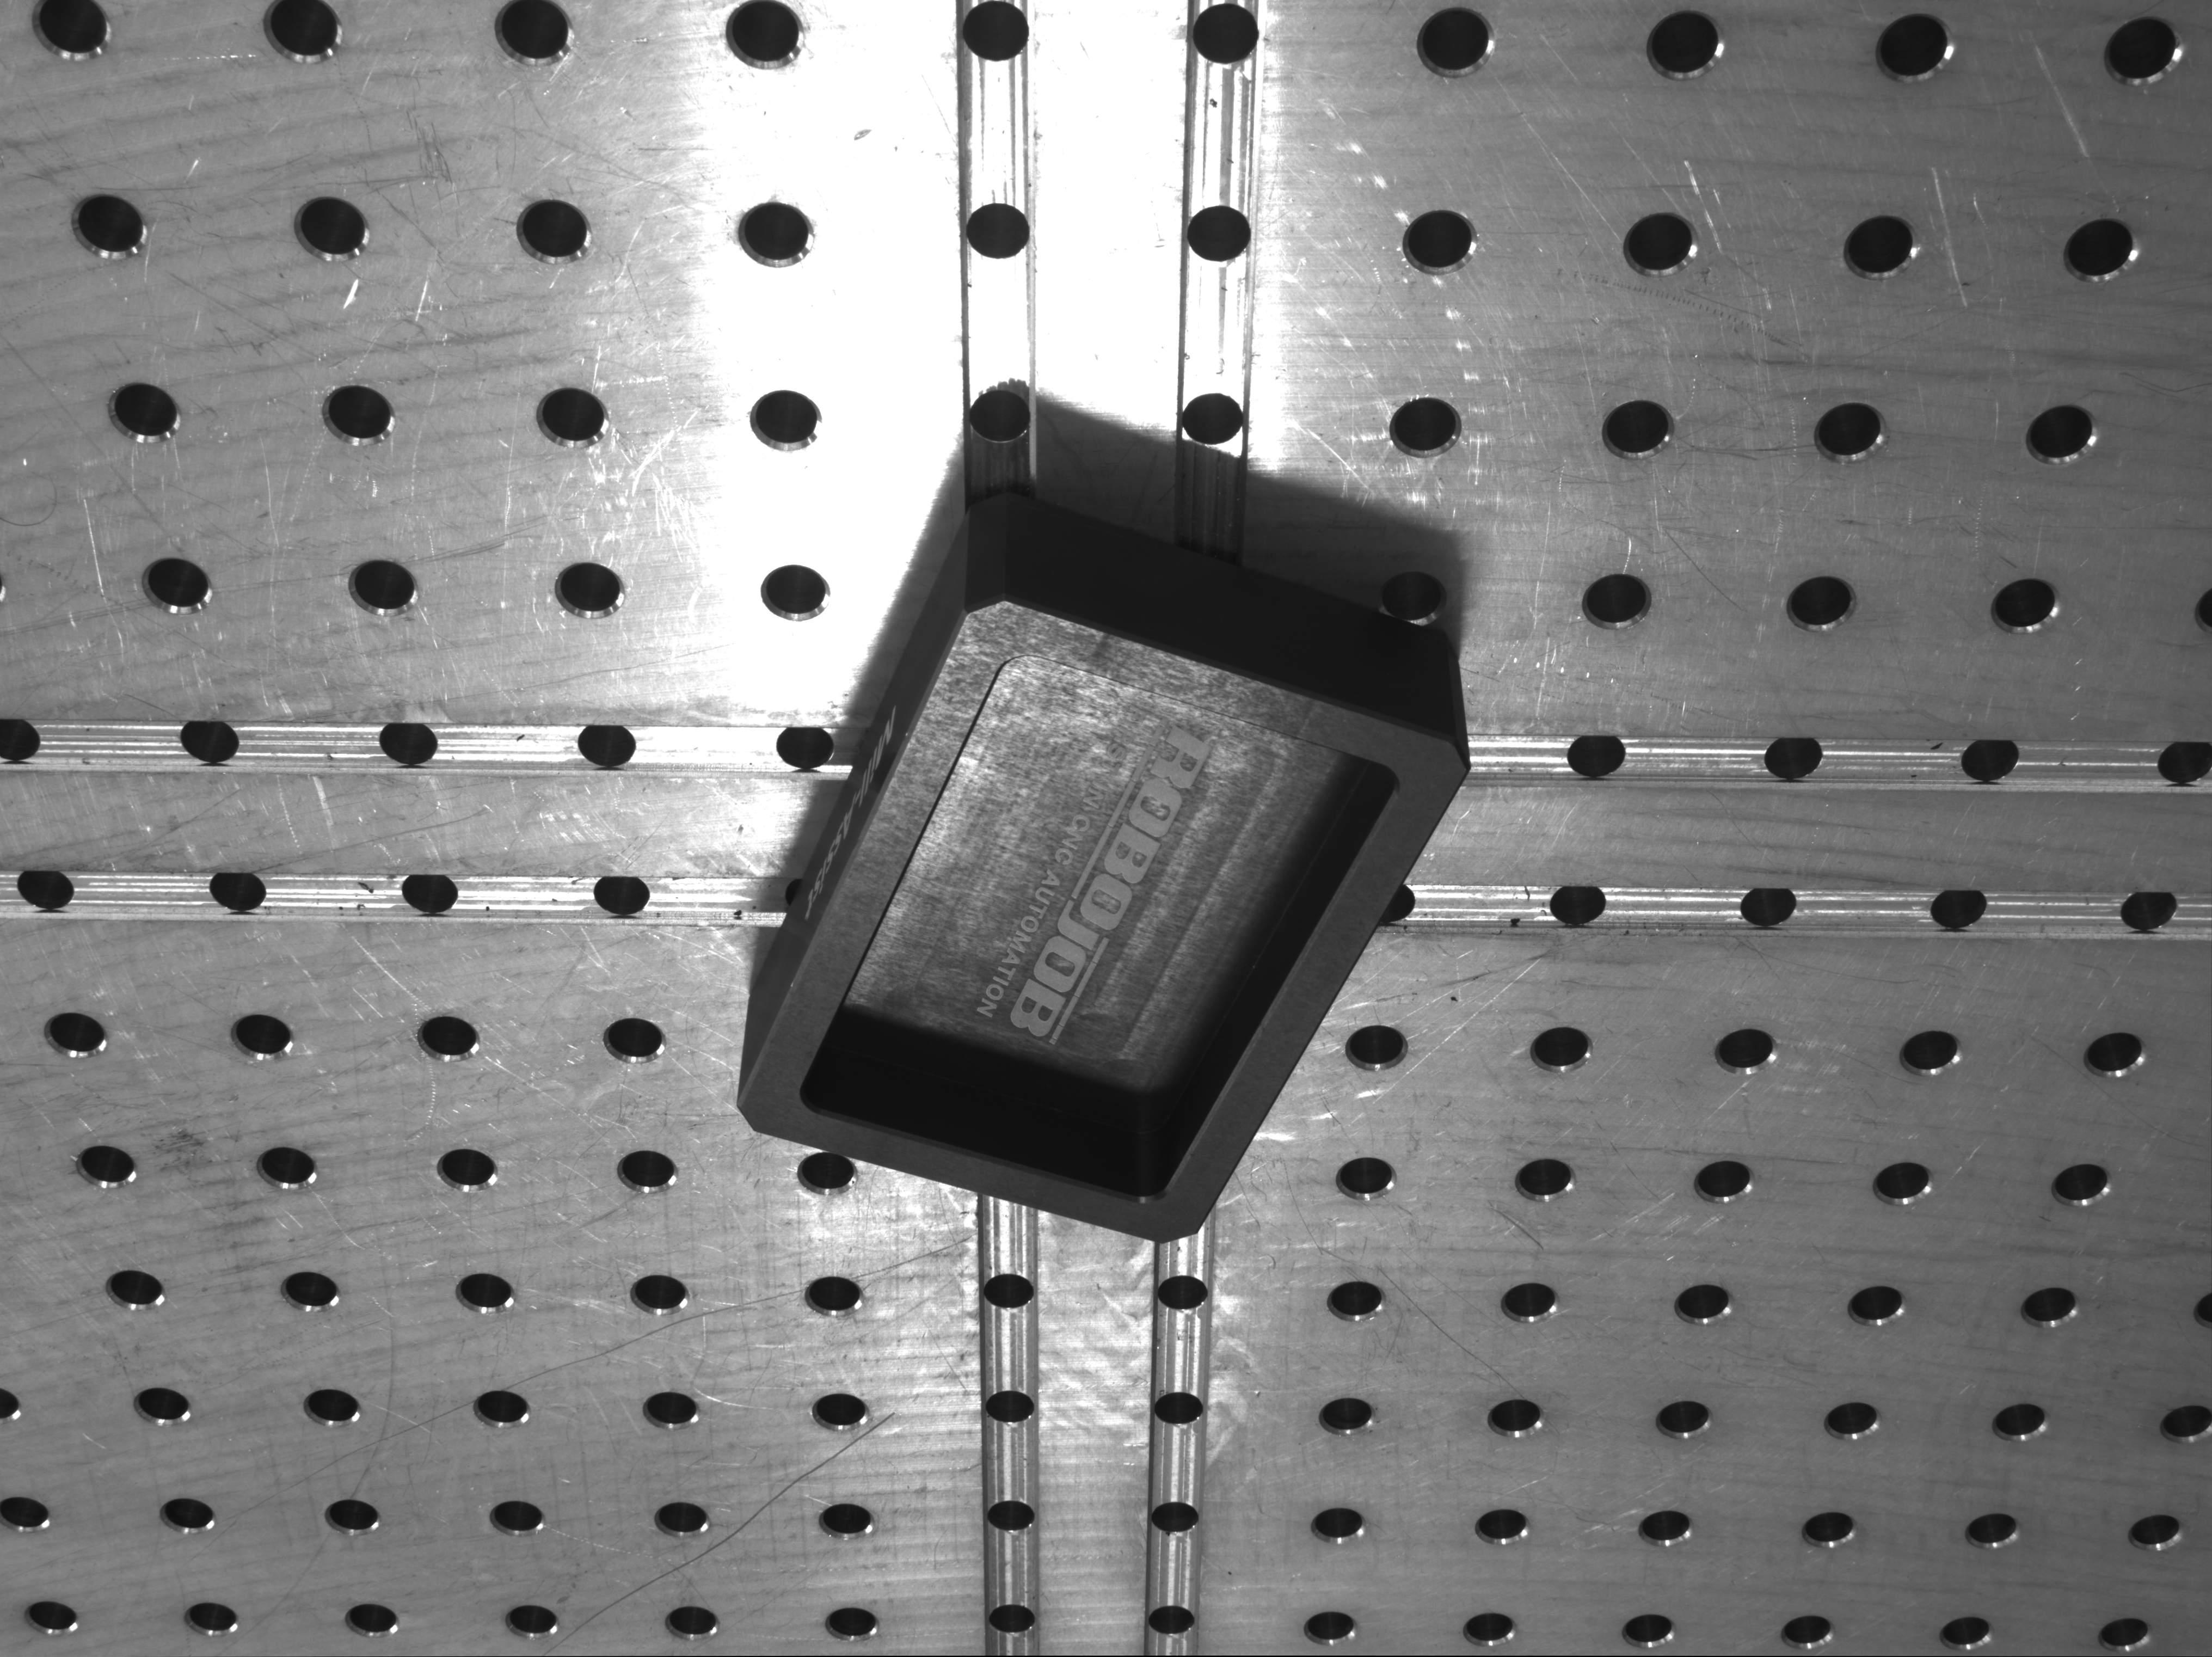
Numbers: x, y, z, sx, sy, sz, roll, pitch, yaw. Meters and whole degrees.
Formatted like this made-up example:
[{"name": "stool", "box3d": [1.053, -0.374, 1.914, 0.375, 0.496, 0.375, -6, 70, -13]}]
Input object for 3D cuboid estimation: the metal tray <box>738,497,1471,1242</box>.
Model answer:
[{"name": "metal tray", "box3d": [-0.003, 0.011, 0.649, 0.090, 0.030, 0.130, 16, 128, -14]}]
